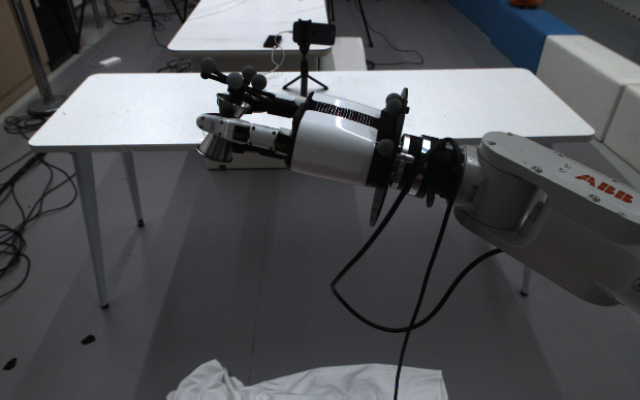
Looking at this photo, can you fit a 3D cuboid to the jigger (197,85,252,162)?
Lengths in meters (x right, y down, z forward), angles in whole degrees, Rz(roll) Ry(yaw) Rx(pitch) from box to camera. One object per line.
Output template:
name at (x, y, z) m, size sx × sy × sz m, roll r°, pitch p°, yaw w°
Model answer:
jigger at (-0.109, -0.082, 0.548) m, size 0.043 × 0.071 × 0.043 m, roll 23°, pitch 19°, yaw -8°
